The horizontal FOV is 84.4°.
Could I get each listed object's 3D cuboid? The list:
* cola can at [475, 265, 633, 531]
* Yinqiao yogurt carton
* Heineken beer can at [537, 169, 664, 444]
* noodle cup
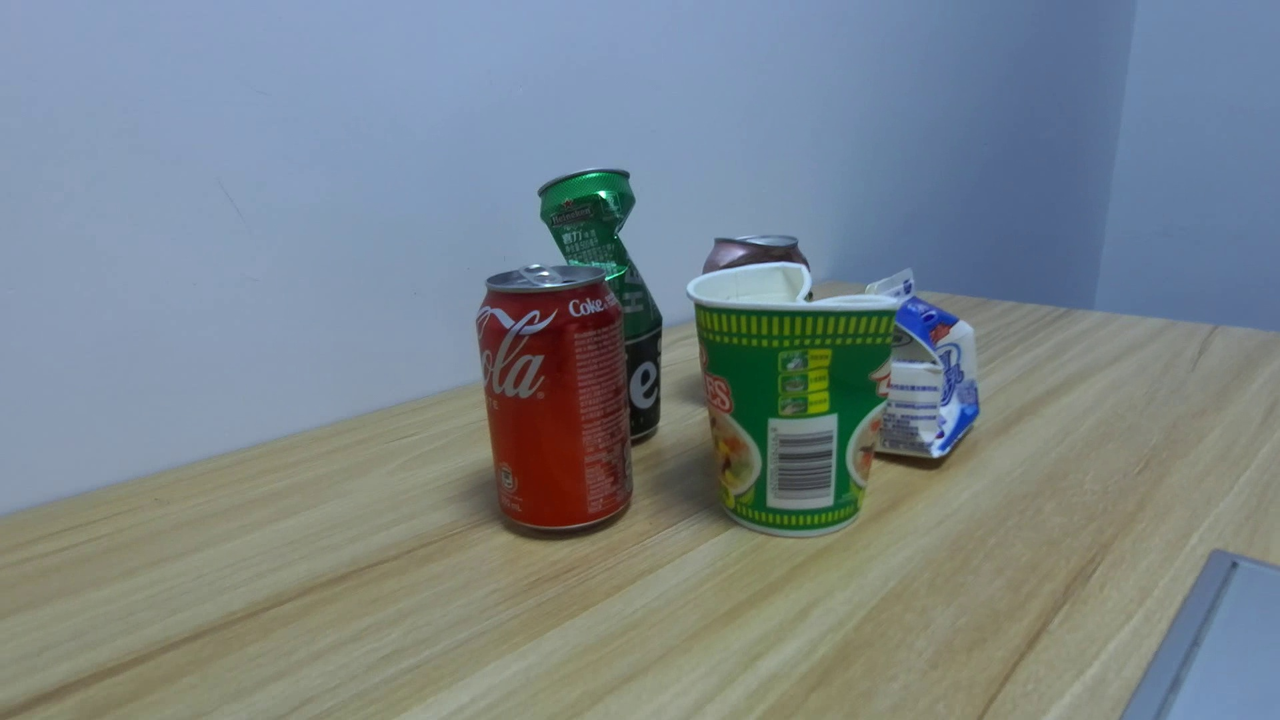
[{"bbox_3d":[-0.039,0.017,0.342,0.068,0.120,0.068,-4,14,1],"label":"cola can"},{"bbox_3d":[0.144,0.000,0.399,0.070,0.094,0.078,2,17,39],"label":"Yinqiao yogurt carton"},{"bbox_3d":[-0.022,-0.029,0.421,0.067,0.159,0.078,-11,9,-40],"label":"Heineken beer can"},{"bbox_3d":[0.069,0.019,0.339,0.087,0.109,0.094,-1,16,8],"label":"noodle cup"}]
